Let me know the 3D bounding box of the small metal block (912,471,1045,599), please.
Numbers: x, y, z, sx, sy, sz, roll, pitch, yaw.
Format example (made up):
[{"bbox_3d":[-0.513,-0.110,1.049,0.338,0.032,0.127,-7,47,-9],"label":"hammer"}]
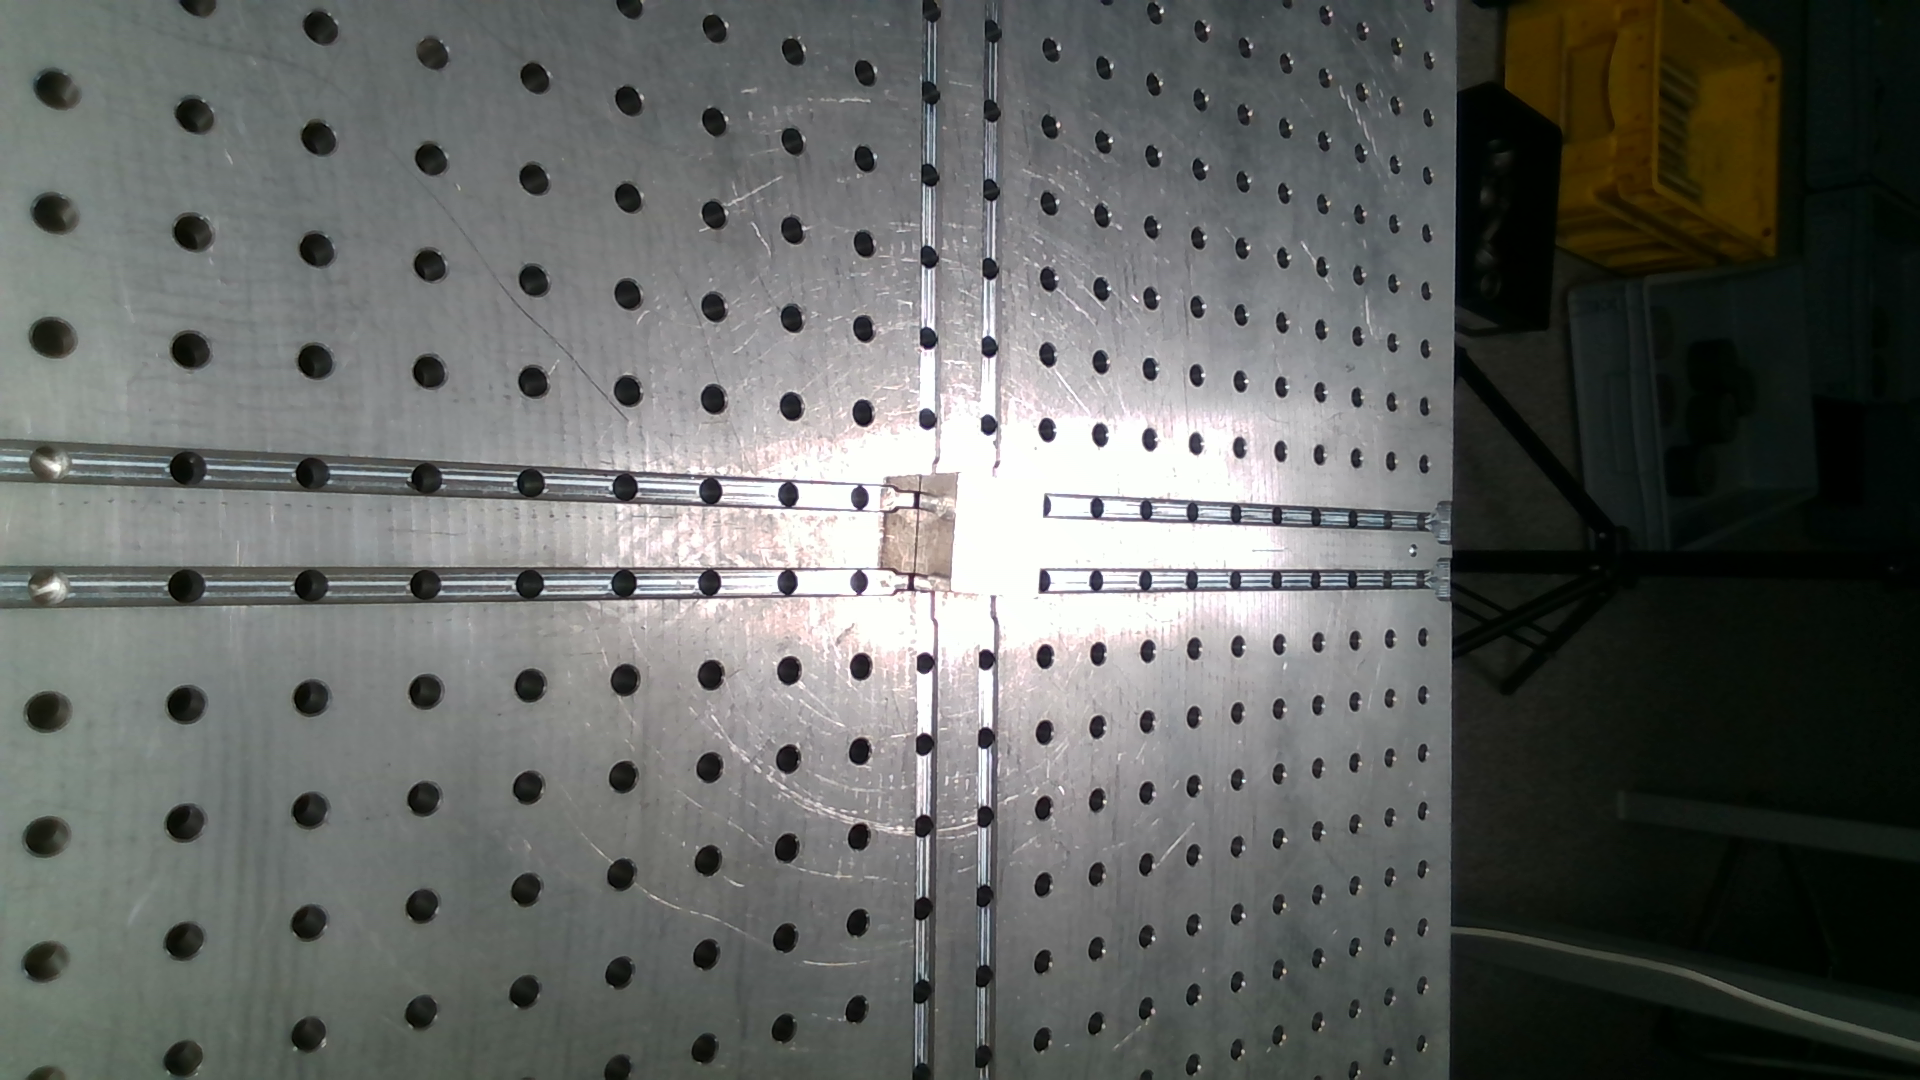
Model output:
[{"bbox_3d":[0.008,-0.001,0.593,0.050,0.025,0.050,6,86,-40],"label":"small metal block"}]
